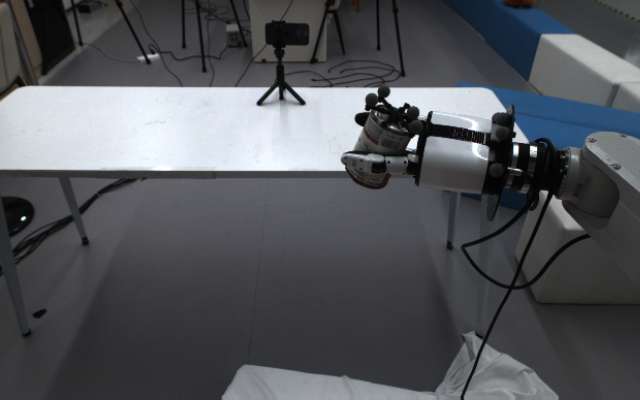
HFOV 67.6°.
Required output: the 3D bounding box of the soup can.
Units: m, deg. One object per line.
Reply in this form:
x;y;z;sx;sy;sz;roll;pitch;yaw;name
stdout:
0.085;-0.075;0.688;0.067;0.101;0.067;14;39;-12;soup can
